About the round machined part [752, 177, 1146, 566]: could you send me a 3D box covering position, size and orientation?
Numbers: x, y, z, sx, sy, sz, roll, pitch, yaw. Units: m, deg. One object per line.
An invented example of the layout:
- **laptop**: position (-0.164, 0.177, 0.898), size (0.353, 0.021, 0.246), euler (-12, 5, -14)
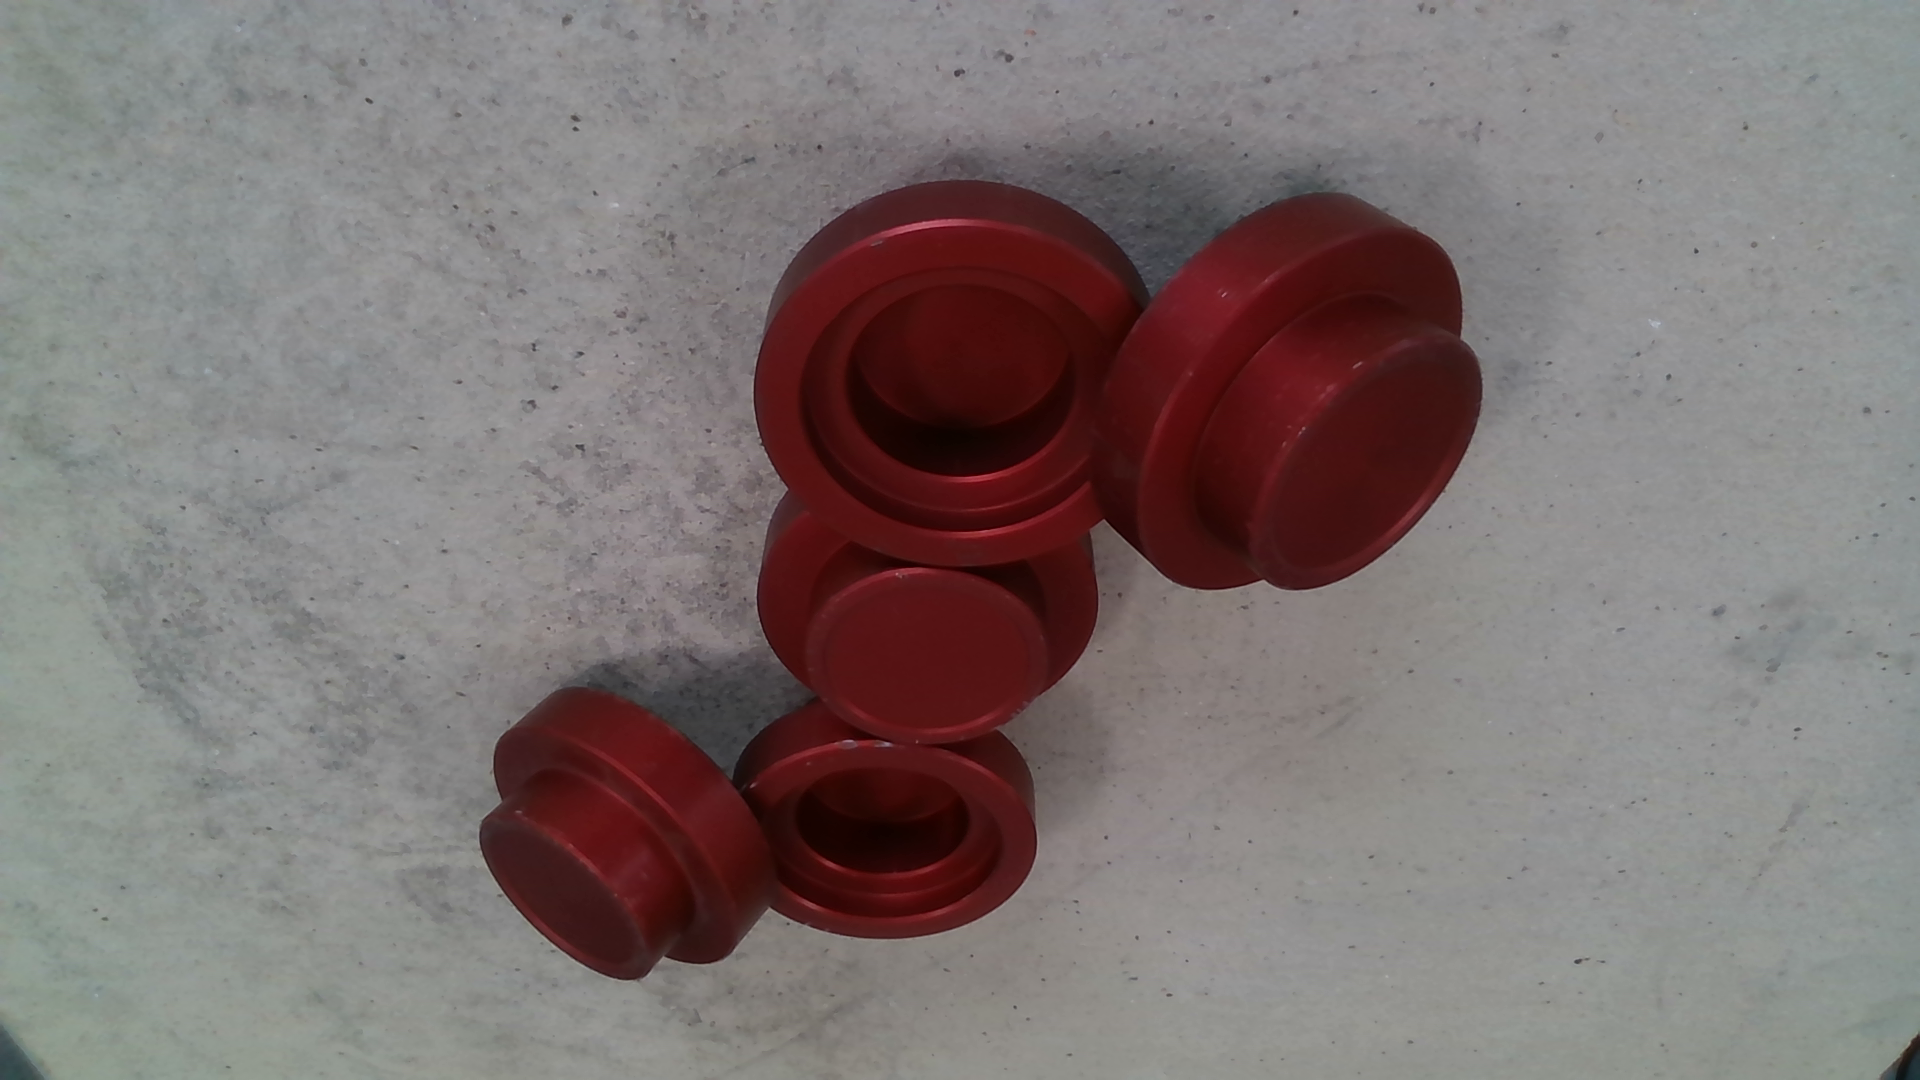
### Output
- **round machined part**: position (0.000, -0.044, 0.340), size (0.098, 0.042, 0.098), euler (0, 129, 0)

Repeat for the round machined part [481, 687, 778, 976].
- **round machined part**: position (-0.109, 0.097, 0.430), size (0.098, 0.042, 0.098), euler (20, 134, 22)

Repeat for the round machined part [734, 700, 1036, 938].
- **round machined part**: position (-0.025, 0.083, 0.447), size (0.098, 0.042, 0.098), euler (0, 129, 0)

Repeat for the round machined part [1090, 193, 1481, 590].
- **round machined part**: position (0.083, -0.027, 0.326), size (0.098, 0.042, 0.098), euler (-21, 136, -23)

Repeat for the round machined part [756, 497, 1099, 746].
- **round machined part**: position (-0.009, 0.021, 0.394), size (0.098, 0.042, 0.098), euler (-1, 129, -2)
